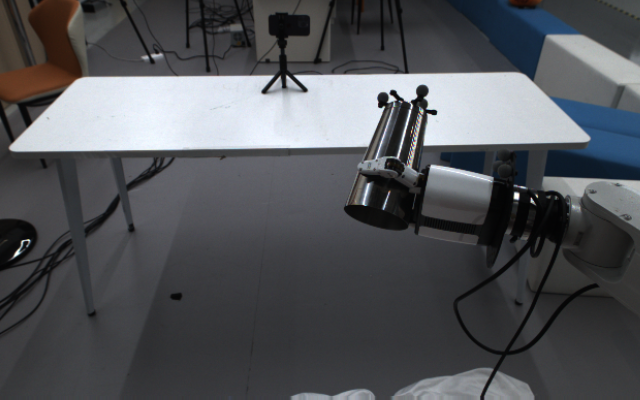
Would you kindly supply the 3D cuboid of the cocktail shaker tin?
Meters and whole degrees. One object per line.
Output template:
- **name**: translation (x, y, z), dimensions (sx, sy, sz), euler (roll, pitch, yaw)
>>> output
- **cocktail shaker tin**: translation (0.102, -0.052, 0.693), dimensions (0.093, 0.093, 0.170), euler (13, 72, 16)
